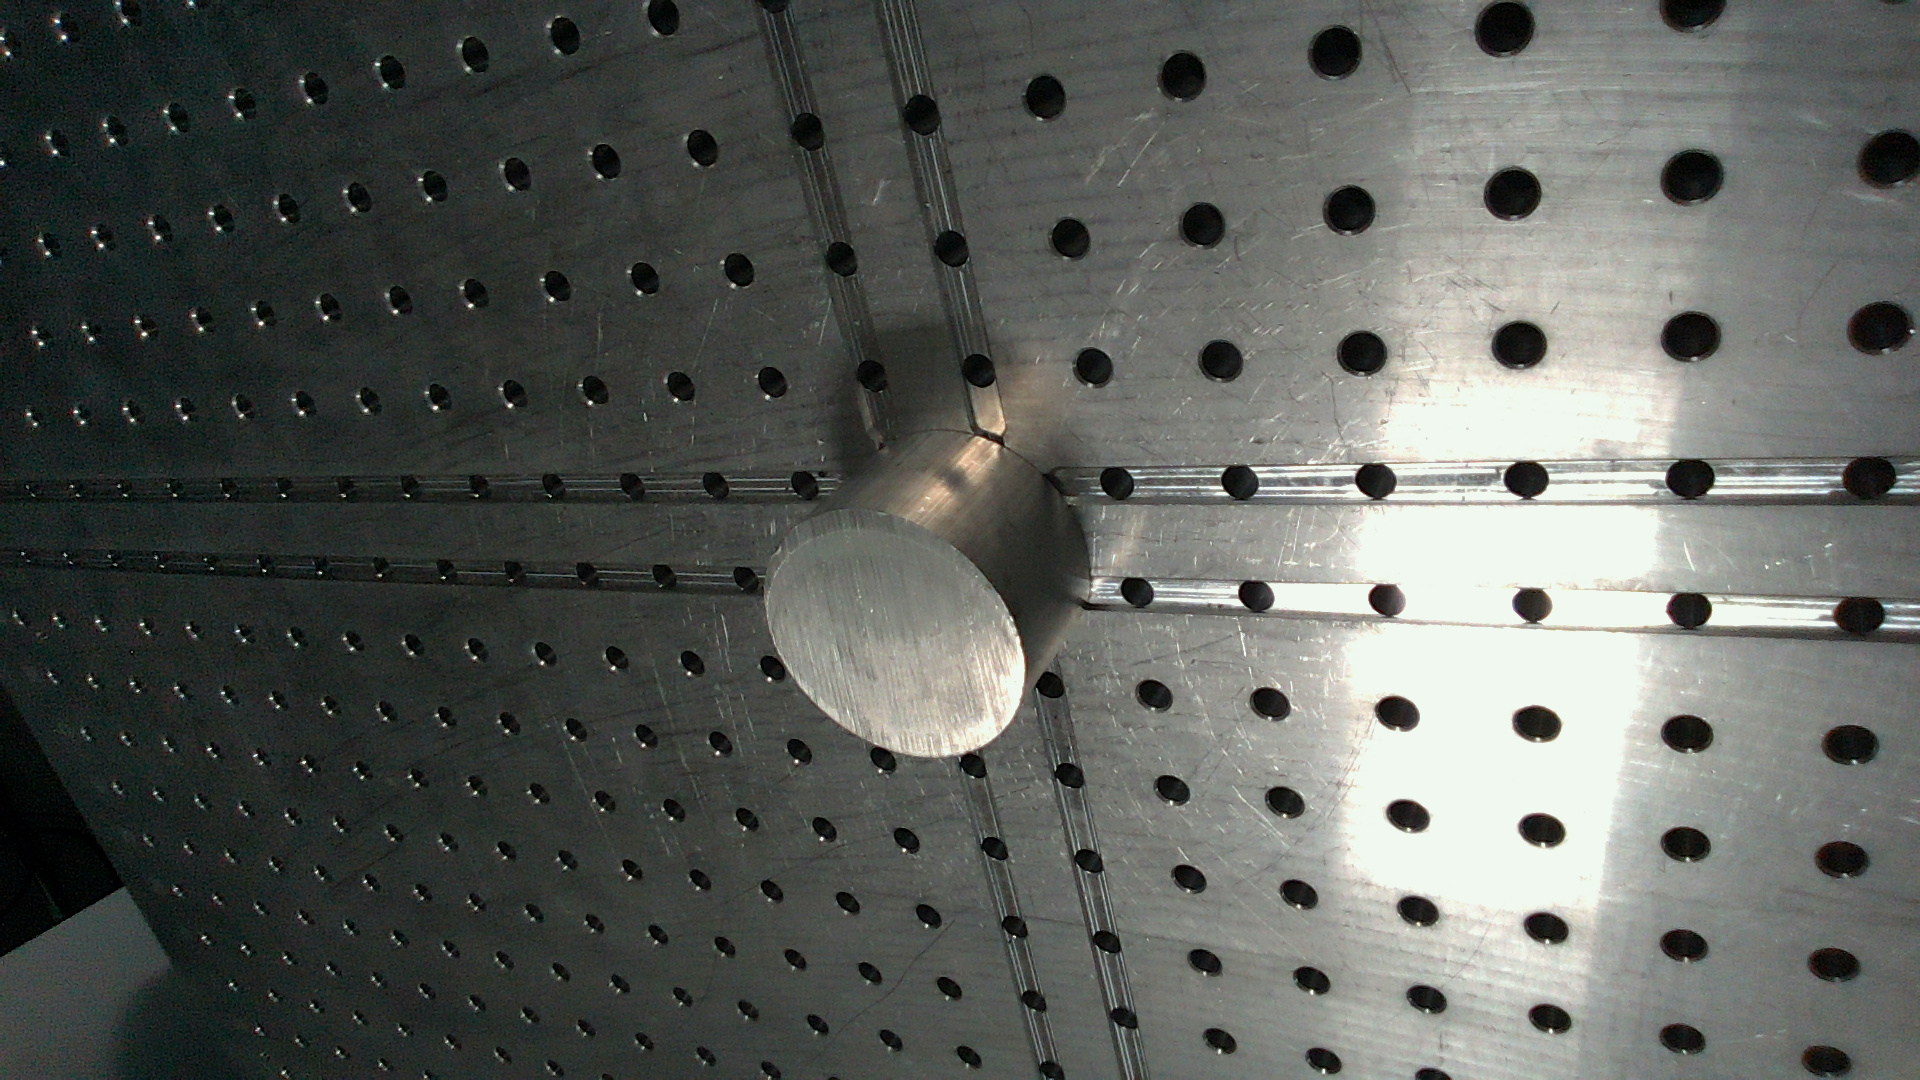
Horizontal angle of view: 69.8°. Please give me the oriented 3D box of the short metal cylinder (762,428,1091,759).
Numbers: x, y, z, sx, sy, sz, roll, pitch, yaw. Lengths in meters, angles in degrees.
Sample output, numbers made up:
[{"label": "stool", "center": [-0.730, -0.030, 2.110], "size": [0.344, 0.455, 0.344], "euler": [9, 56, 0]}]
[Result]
[{"label": "short metal cylinder", "center": [-0.009, 0.015, 0.393], "size": [0.080, 0.050, 0.080], "euler": [13, 124, 21]}]
